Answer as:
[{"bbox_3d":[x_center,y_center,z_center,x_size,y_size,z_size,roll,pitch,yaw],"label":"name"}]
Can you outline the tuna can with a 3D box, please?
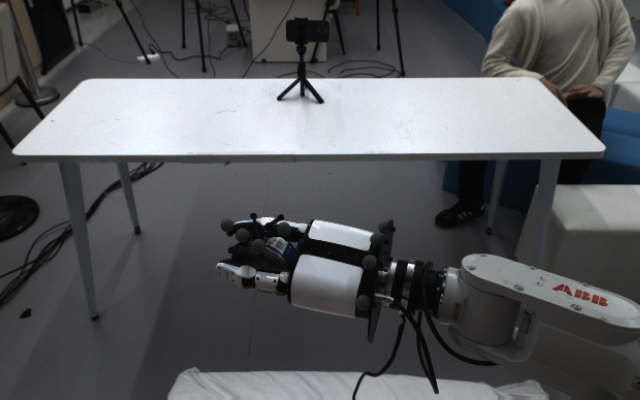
[{"bbox_3d":[-0.070,0.082,0.644,0.085,0.085,0.034,11,39,13],"label":"tuna can"}]
